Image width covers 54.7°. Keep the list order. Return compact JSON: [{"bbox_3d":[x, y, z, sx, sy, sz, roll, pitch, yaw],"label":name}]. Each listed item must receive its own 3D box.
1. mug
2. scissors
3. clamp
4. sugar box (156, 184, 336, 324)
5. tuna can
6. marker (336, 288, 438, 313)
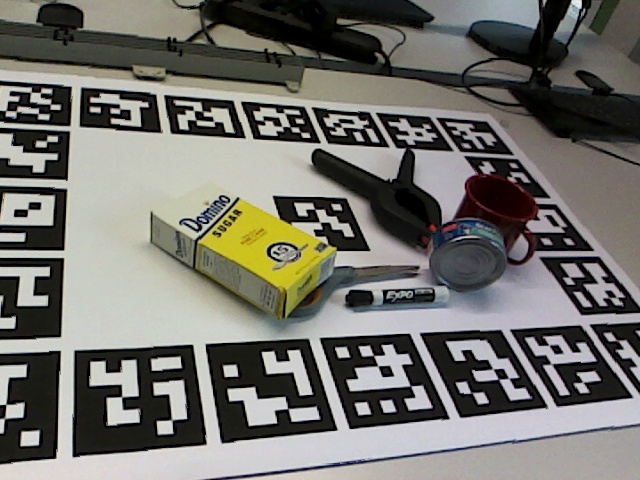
[{"bbox_3d":[0.209,-0.012,0.779,0.093,0.081,0.118,-23,51,-39],"label":"mug"},{"bbox_3d":[0.021,0.036,0.691,0.201,0.016,0.088,-7,42,-30],"label":"scissors"},{"bbox_3d":[0.093,-0.054,0.829,0.164,0.036,0.204,-7,47,-28],"label":"clamp"},{"bbox_3d":[-0.080,0.008,0.659,0.177,0.045,0.092,31,40,24],"label":"sugar box"},{"bbox_3d":[0.168,0.020,0.718,0.085,0.086,0.034,12,40,-8],"label":"tuna can"},{"bbox_3d":[0.074,0.066,0.680,0.120,0.019,0.020,-3,45,-23],"label":"marker"}]
